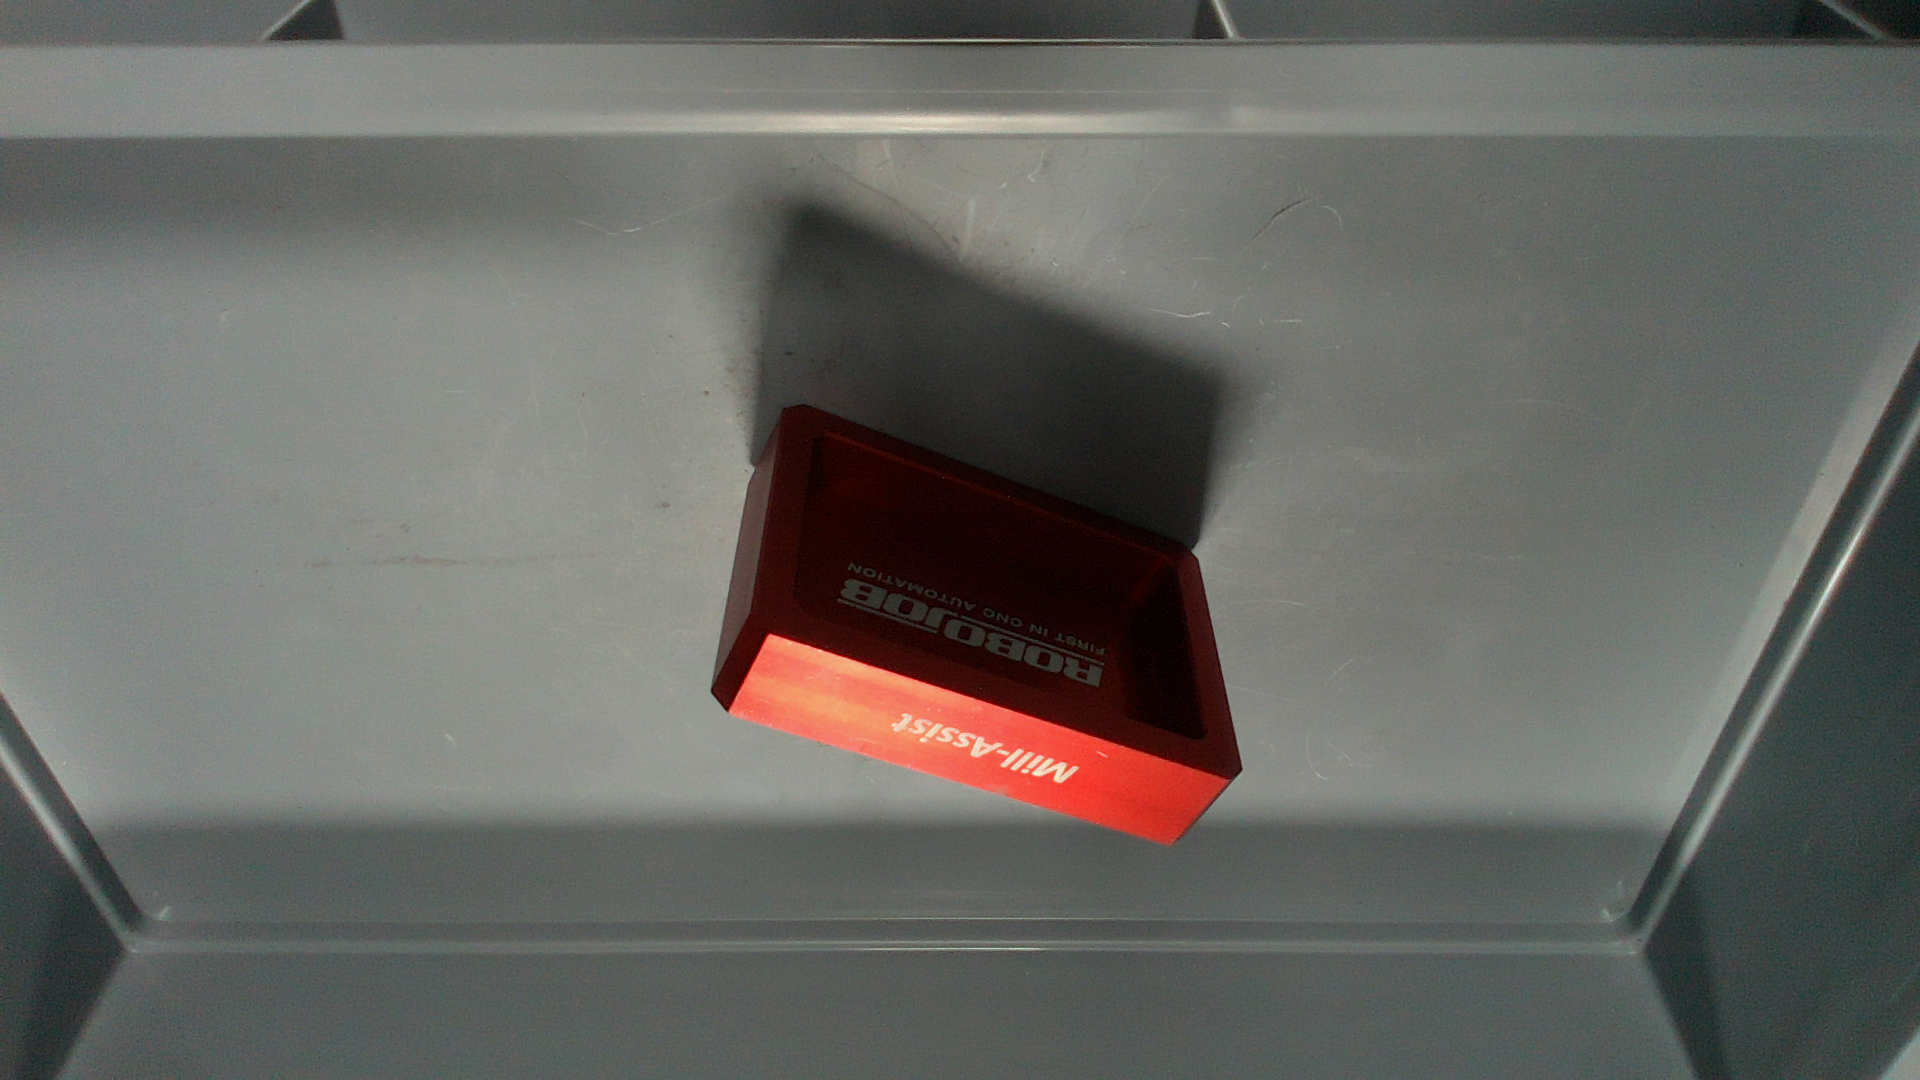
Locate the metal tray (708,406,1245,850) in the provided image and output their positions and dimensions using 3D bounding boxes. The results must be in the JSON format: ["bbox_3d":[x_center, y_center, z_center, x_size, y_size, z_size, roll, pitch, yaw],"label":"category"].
[{"bbox_3d":[0.006,0.022,0.362,0.130,0.090,0.030,19,128,-16],"label":"metal tray"}]
